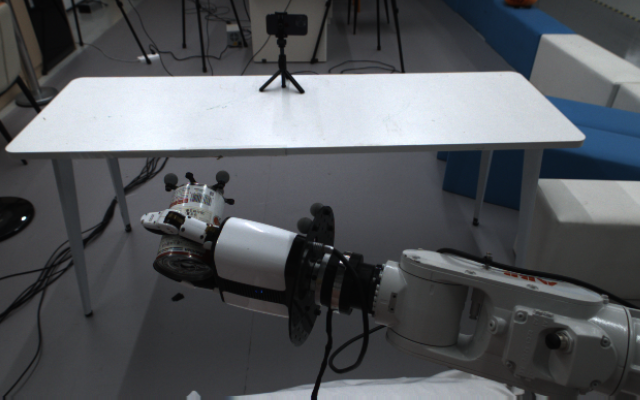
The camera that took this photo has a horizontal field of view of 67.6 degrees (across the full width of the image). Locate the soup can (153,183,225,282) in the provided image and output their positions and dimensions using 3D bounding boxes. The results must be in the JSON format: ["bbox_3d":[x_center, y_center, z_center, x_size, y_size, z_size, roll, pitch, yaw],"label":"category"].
[{"bbox_3d":[-0.155,0.039,0.587,0.067,0.067,0.101,3,57,1],"label":"soup can"}]
